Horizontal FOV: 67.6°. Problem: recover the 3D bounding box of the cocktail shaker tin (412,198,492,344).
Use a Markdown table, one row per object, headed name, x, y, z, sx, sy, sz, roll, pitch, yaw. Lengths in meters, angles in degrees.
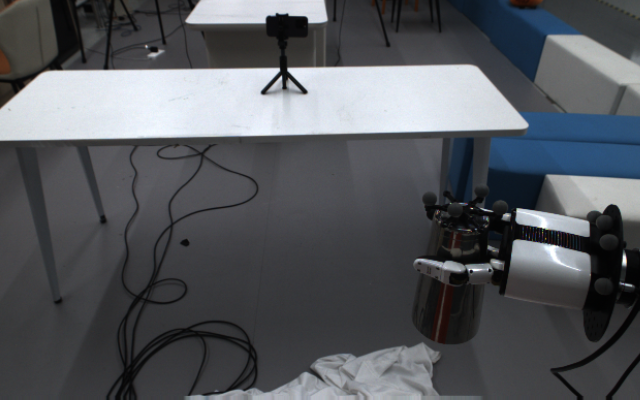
| name | x | y | z | sx | sy | sz | roll | pitch | yaw |
| --- | --- | --- | --- | --- | --- | --- | --- | --- | --- |
| cocktail shaker tin | 0.175 | 0.089 | 0.626 | 0.093 | 0.170 | 0.093 | -1 | 32 | 1 |
